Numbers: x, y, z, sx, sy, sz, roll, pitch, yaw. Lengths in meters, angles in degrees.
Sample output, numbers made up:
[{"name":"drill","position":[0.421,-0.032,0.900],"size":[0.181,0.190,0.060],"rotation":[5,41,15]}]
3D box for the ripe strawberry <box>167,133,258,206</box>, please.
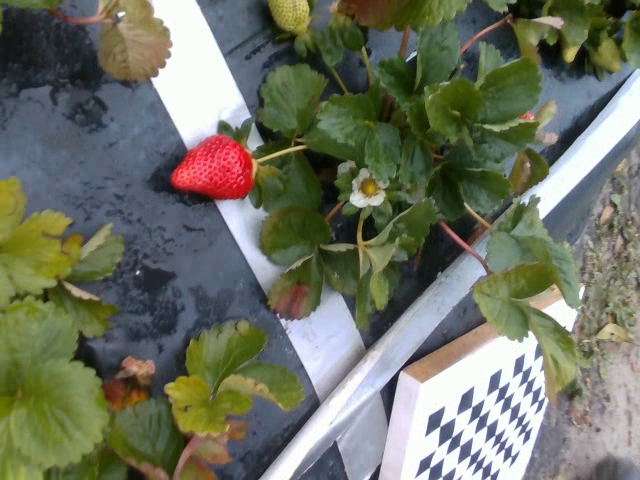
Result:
[{"name":"ripe strawberry","position":[-0.059,-0.038,0.323],"size":[0.051,0.042,0.037],"rotation":[-21,40,-40]}]
